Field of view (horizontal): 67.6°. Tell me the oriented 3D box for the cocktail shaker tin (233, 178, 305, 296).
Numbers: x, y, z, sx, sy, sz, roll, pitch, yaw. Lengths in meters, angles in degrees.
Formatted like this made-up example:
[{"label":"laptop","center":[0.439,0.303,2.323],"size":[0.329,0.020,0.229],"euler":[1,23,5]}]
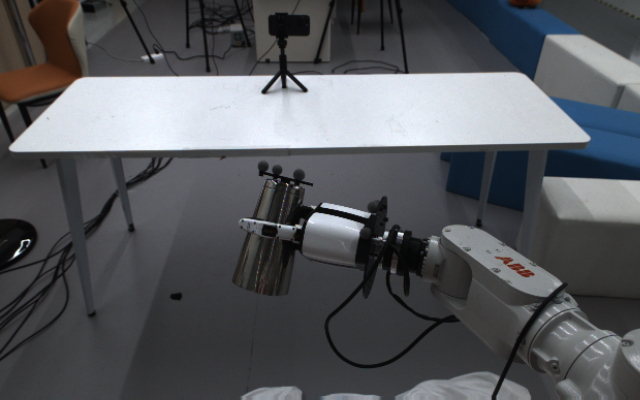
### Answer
[{"label":"cocktail shaker tin","center":[-0.077,0.055,0.770],"size":[0.093,0.170,0.093],"euler":[14,2,0]}]
